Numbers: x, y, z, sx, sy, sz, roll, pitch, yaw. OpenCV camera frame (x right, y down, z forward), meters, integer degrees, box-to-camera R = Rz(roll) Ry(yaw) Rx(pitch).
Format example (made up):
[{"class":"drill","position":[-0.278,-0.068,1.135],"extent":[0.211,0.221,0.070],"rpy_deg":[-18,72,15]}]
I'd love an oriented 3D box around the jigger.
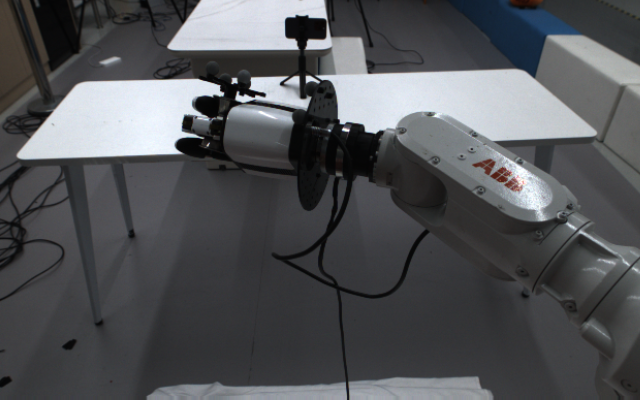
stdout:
[{"class":"jigger","position":[-0.128,-0.096,0.620],"extent":[0.043,0.071,0.043],"rpy_deg":[16,2,-1]}]
